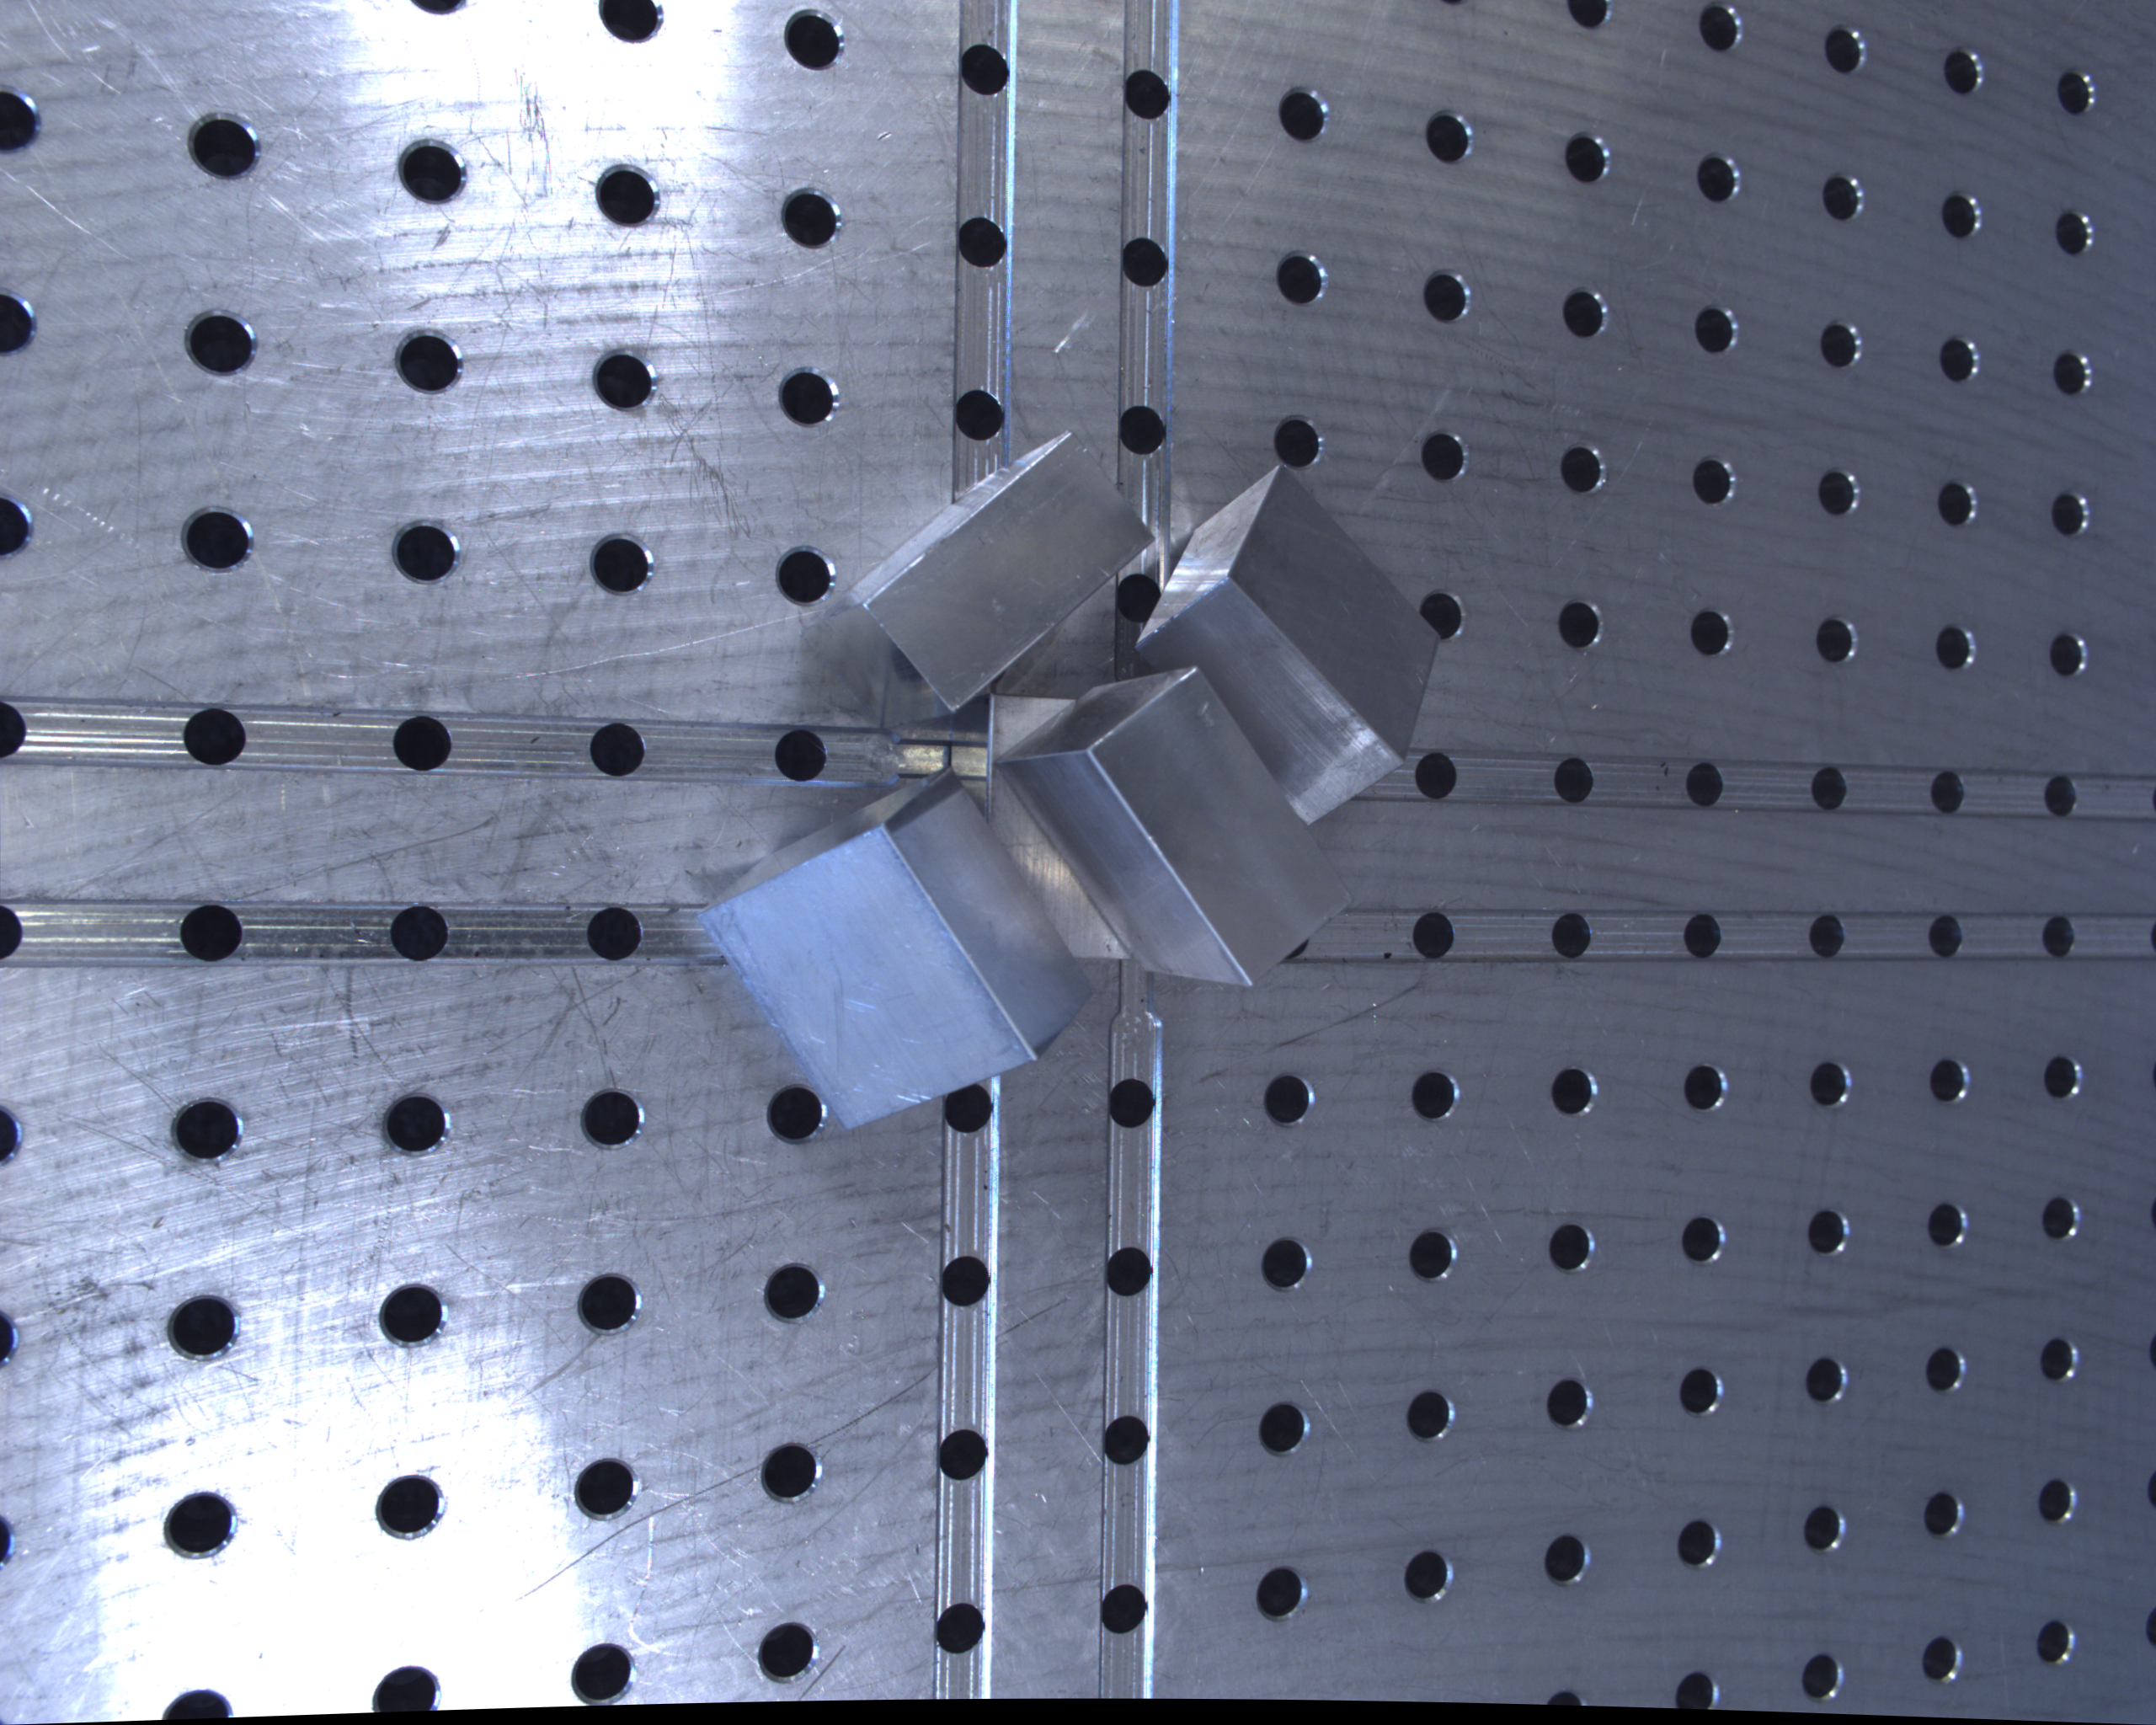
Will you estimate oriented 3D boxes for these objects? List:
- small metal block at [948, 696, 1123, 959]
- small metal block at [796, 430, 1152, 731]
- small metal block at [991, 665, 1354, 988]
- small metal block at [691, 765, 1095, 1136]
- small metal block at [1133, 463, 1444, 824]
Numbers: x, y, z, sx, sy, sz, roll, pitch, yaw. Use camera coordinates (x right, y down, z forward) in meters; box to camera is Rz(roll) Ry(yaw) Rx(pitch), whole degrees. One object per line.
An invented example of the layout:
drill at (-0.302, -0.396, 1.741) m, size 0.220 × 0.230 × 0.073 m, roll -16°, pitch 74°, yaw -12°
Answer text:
small metal block at (0.002, -0.006, 0.413) m, size 0.050 × 0.025 × 0.050 m, roll 1°, pitch 90°, yaw -21°
small metal block at (-0.021, -0.051, 0.391) m, size 0.050 × 0.050 × 0.025 m, roll -43°, pitch 104°, yaw -15°
small metal block at (0.016, -0.006, 0.378) m, size 0.025 × 0.050 × 0.050 m, roll -38°, pitch 103°, yaw -17°
small metal block at (-0.034, 0.017, 0.384) m, size 0.050 × 0.050 × 0.025 m, roll 58°, pitch 36°, yaw -11°
small metal block at (0.043, -0.044, 0.414) m, size 0.050 × 0.025 × 0.050 m, roll 44°, pitch 36°, yaw -15°
